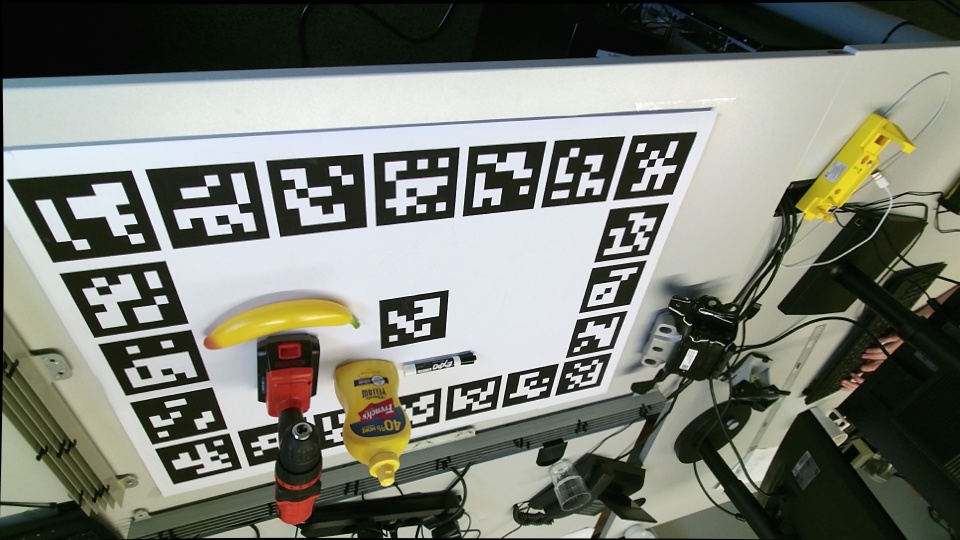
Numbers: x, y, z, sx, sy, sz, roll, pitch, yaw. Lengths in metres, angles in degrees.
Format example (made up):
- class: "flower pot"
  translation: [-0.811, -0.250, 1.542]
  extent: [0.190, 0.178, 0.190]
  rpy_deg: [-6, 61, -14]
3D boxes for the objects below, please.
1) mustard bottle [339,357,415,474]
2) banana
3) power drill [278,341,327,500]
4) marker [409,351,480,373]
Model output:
- class: "mustard bottle"
  translation: [-0.148, 0.213, 0.789]
  extent: [0.096, 0.190, 0.058]
  rpy_deg: [1, 125, -24]
- class: "banana"
  translation: [-0.253, 0.059, 0.727]
  extent: [0.198, 0.038, 0.074]
  rpy_deg: [-3, 125, -24]
- class: "power drill"
  translation: [-0.238, 0.186, 0.706]
  extent: [0.057, 0.186, 0.184]
  rpy_deg: [4, 127, -24]
- class: "marker"
  translation: [-0.058, 0.153, 0.897]
  extent: [0.121, 0.019, 0.019]
  rpy_deg: [-7, 127, -19]
